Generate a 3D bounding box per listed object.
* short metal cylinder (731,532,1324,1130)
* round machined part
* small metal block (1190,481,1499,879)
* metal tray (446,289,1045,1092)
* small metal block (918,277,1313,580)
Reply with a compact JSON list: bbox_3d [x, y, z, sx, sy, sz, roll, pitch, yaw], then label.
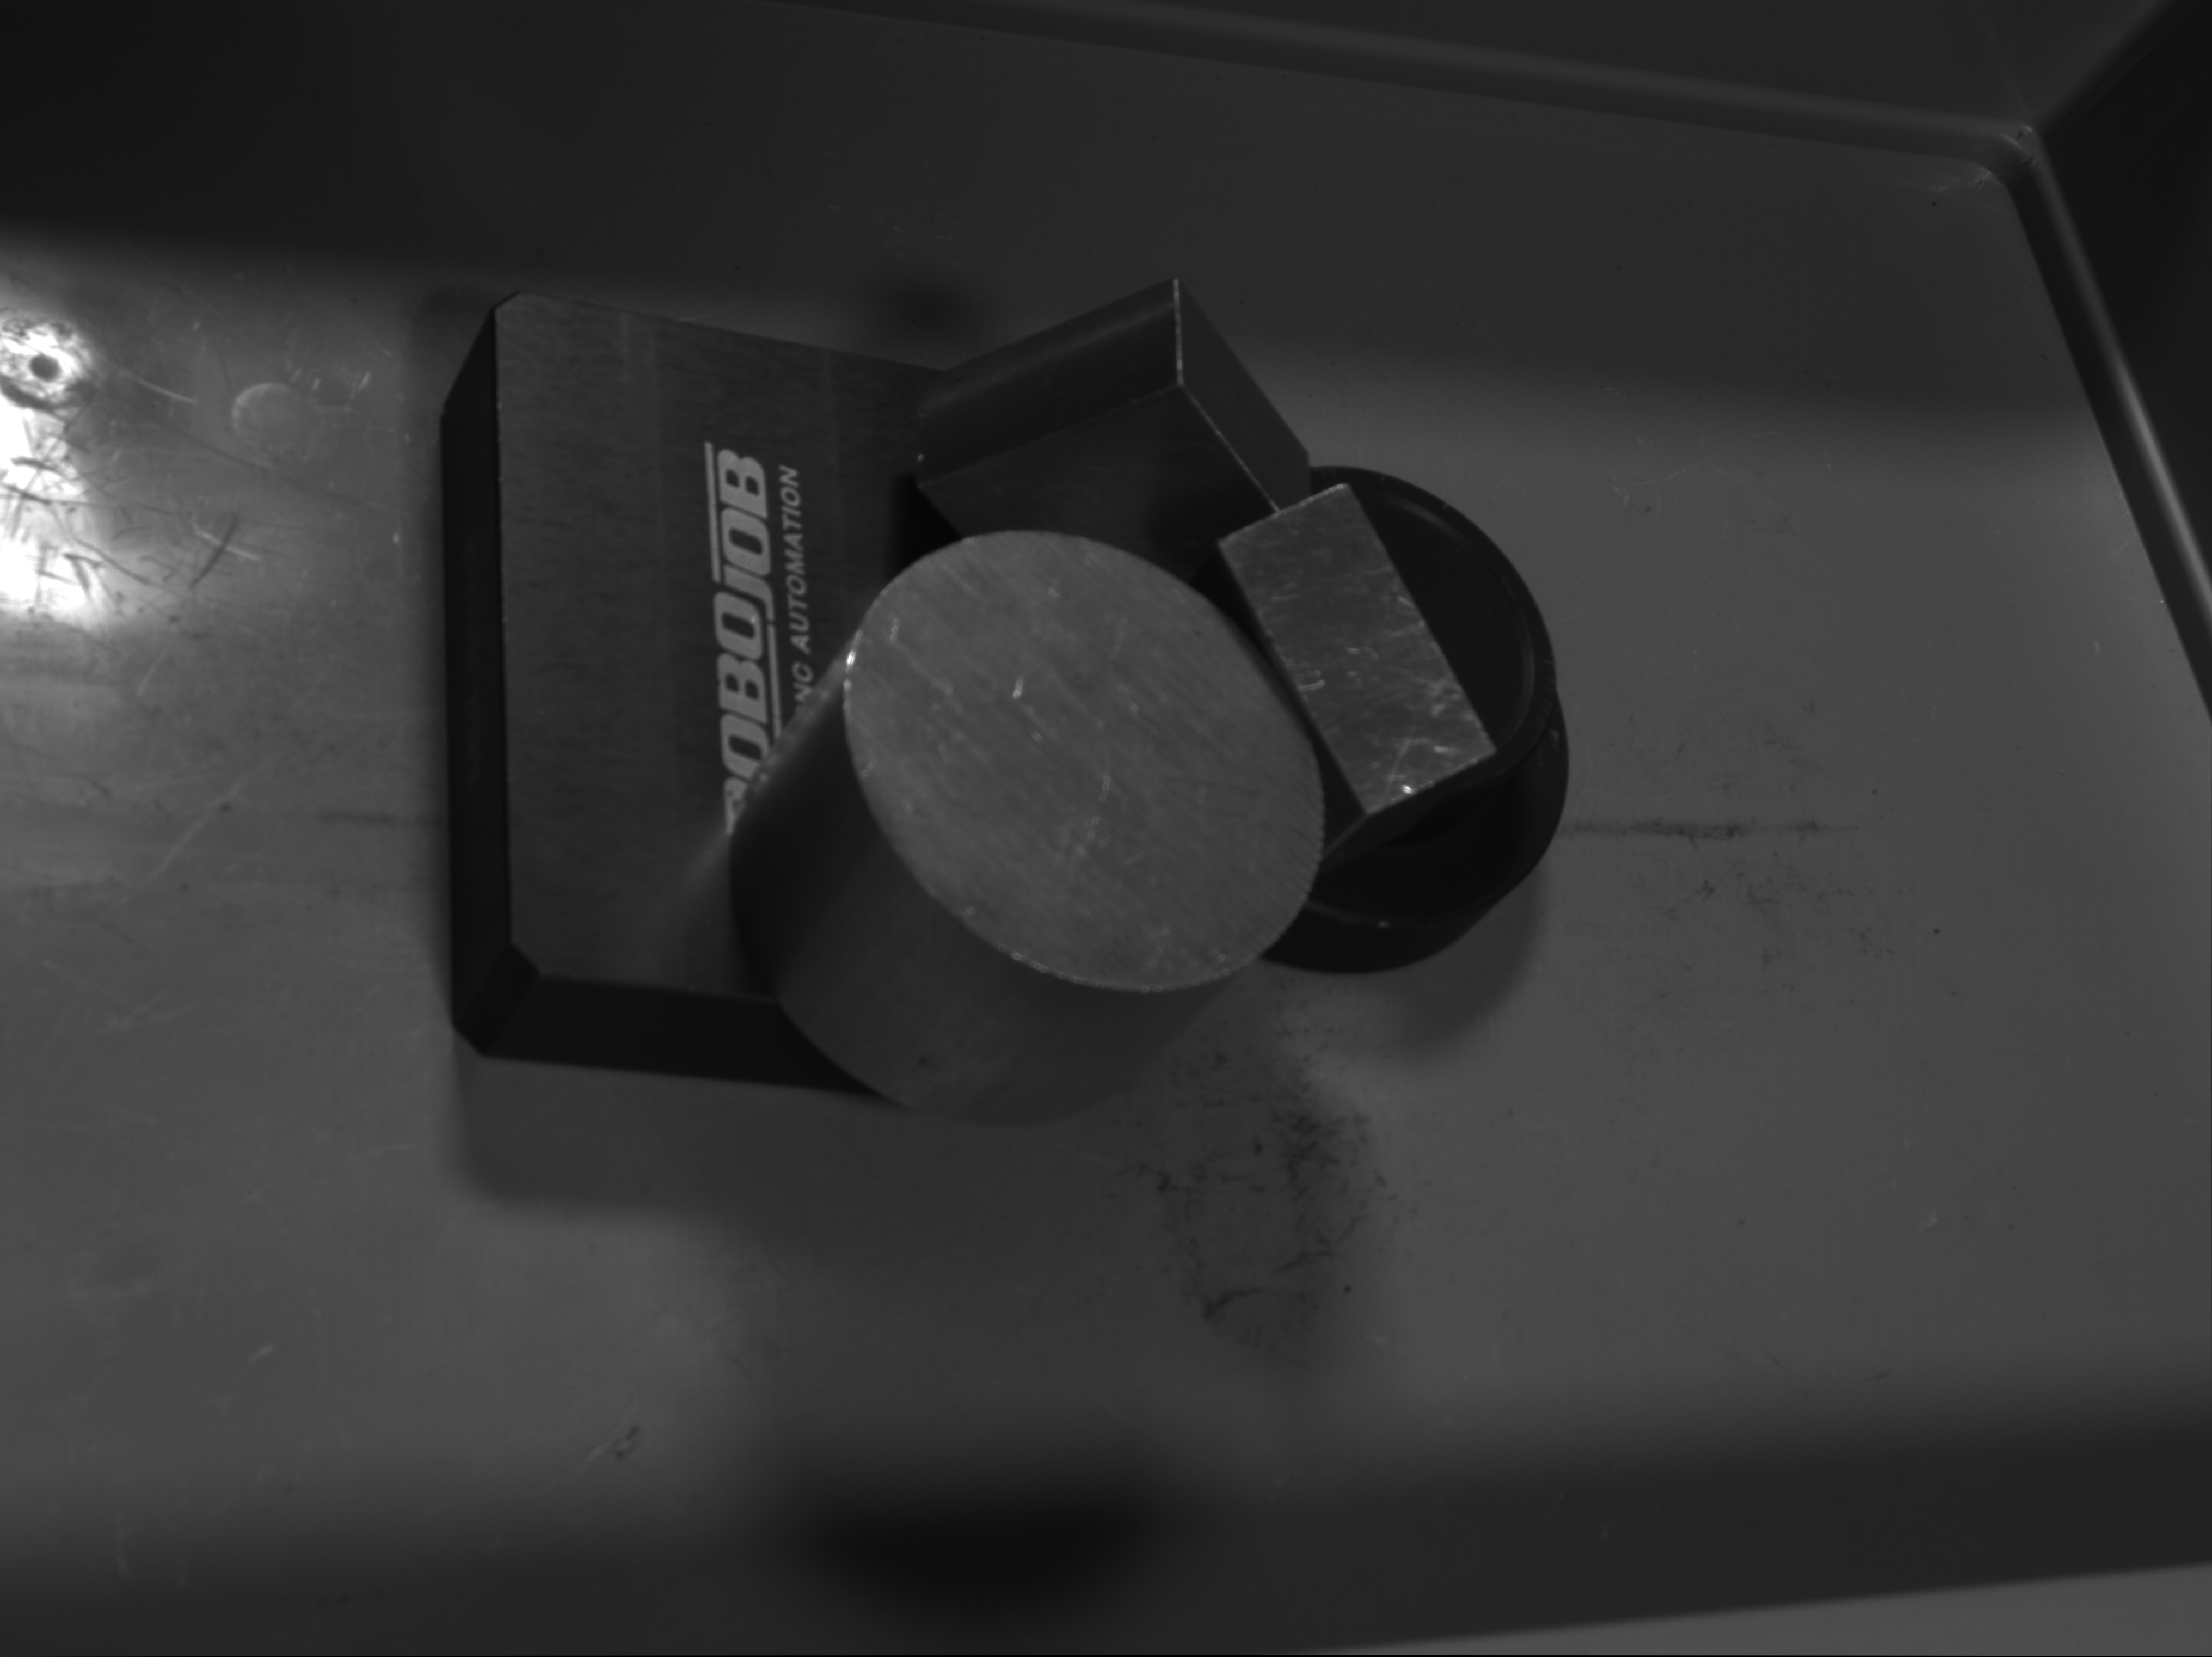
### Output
[{"bbox_3d":[-0.013,0.001,0.576,0.080,0.050,0.080,14,56,-21],"label":"short metal cylinder"},{"bbox_3d":[0.043,-0.026,0.666,0.098,0.042,0.098,14,56,-21],"label":"round machined part"},{"bbox_3d":[0.035,-0.022,0.604,0.025,0.050,0.050,-26,82,-18],"label":"small metal block"},{"bbox_3d":[-0.062,-0.023,0.613,0.090,0.030,0.130,8,58,-24],"label":"metal tray"},{"bbox_3d":[0.002,-0.061,0.628,0.050,0.050,0.025,47,32,-45],"label":"small metal block"}]
